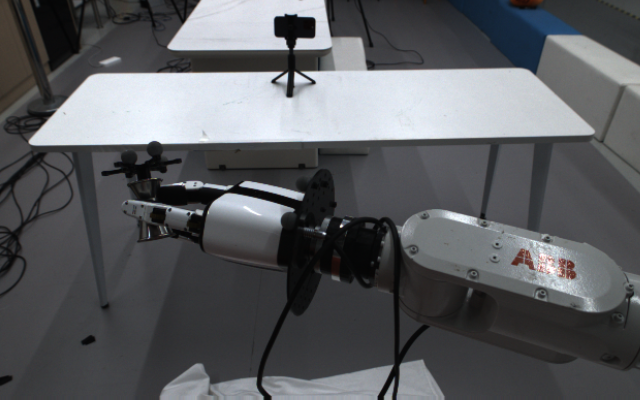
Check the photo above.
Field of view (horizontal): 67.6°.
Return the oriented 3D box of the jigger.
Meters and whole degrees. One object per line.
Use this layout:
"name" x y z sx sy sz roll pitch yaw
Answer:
"jigger" -0.194 0.013 0.563 0.043 0.071 0.043 -13 -3 -1
